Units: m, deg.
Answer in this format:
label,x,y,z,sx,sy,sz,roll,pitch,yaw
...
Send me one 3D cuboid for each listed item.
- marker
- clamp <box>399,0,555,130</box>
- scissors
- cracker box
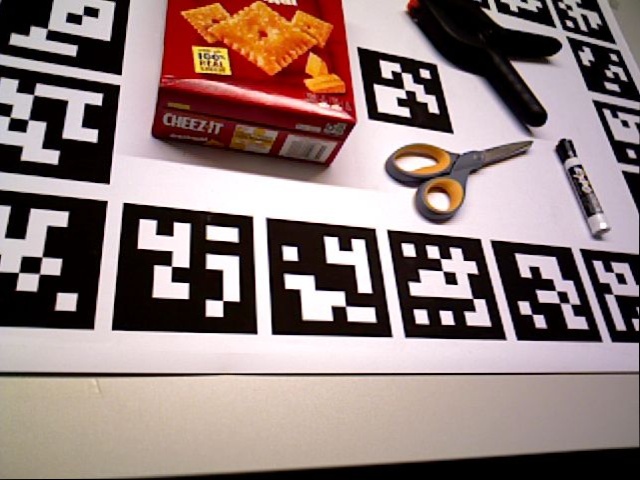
label,x,y,z,sx,sy,sz,roll,pitch,yaw
marker,0.290,-0.060,0.595,0.019,0.020,0.120,2,62,-21
clamp,0.186,-0.236,0.656,0.202,0.037,0.162,32,55,-4
scissors,0.157,-0.077,0.553,0.198,0.016,0.087,-24,73,-33
cracker box,-0.058,-0.183,0.494,0.162,0.074,0.211,6,61,-18
